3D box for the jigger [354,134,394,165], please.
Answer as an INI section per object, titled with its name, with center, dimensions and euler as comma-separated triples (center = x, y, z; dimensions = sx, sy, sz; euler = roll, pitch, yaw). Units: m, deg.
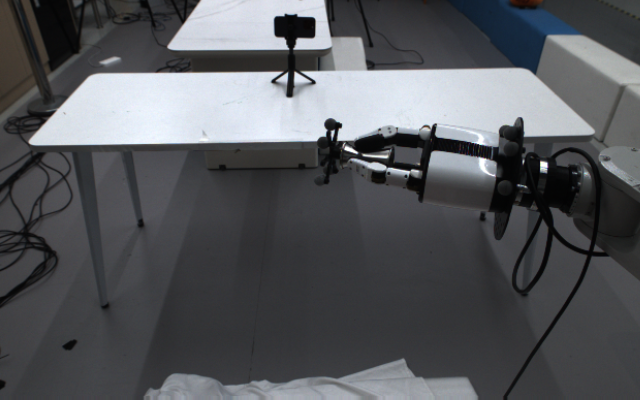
[jigger]
center = 0.072, -0.060, 0.670
dimensions = 0.071, 0.043, 0.043
euler = 10, 36, 15
